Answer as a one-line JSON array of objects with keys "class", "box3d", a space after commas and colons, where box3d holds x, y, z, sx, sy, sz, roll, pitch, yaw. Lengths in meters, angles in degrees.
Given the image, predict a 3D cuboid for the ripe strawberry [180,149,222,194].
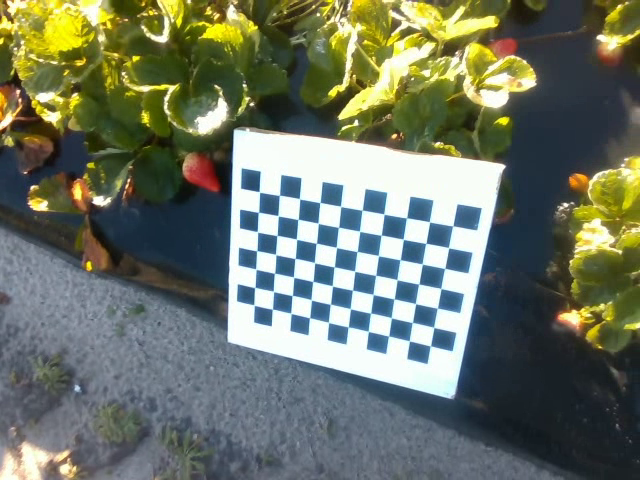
[{"class": "ripe strawberry", "box3d": [-0.152, -0.081, 0.774, 0.040, 0.065, 0.040, -40, 2, 24]}]
